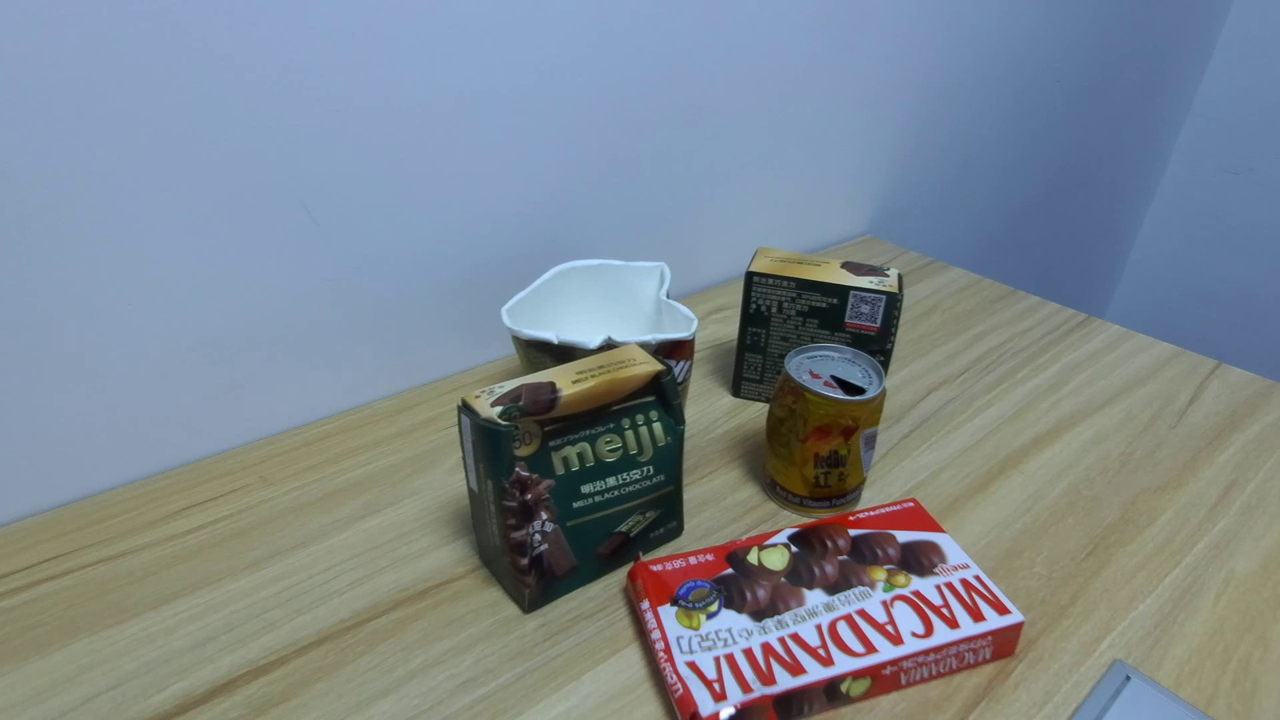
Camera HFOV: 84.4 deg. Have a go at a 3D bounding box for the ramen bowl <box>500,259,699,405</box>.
[{"bbox_3d":[-0.030,-0.004,0.508,0.134,0.097,0.113,-6,35,-15],"label":"ramen bowl"}]

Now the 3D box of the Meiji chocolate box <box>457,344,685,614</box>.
[{"bbox_3d":[-0.032,0.060,0.392,0.118,0.117,0.051,-18,28,-29],"label":"Meiji chocolate box"}]

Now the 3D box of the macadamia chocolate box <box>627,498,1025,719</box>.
[{"bbox_3d":[0.093,0.128,0.369,0.183,0.028,0.105,-9,32,-15],"label":"macadamia chocolate box"}]

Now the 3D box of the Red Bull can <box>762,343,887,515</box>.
[{"bbox_3d":[0.113,0.044,0.440,0.072,0.092,0.072,2,32,-1],"label":"Red Bull can"}]

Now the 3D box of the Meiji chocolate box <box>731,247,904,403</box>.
[{"bbox_3d":[0.133,-0.021,0.533,0.113,0.111,0.058,10,31,15],"label":"Meiji chocolate box"}]
